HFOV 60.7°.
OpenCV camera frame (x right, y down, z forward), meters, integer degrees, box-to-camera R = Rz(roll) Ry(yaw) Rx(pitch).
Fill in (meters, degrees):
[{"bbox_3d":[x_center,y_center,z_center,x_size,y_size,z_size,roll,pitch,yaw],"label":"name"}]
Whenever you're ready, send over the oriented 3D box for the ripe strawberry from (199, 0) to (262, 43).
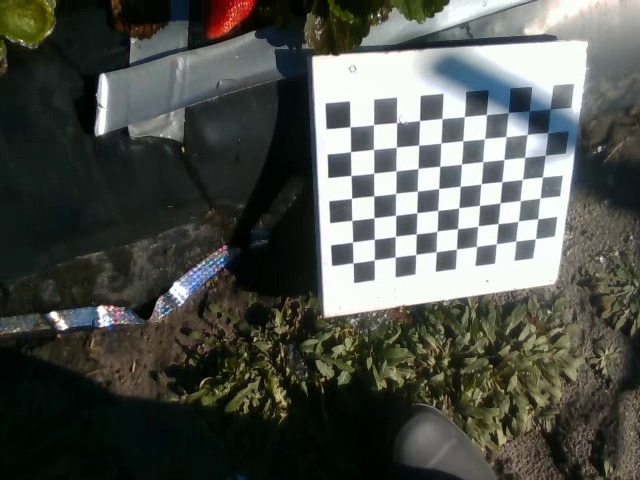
[{"bbox_3d":[-0.084,-0.206,0.495,0.061,0.065,0.057,25,-31,-24],"label":"ripe strawberry"}]
